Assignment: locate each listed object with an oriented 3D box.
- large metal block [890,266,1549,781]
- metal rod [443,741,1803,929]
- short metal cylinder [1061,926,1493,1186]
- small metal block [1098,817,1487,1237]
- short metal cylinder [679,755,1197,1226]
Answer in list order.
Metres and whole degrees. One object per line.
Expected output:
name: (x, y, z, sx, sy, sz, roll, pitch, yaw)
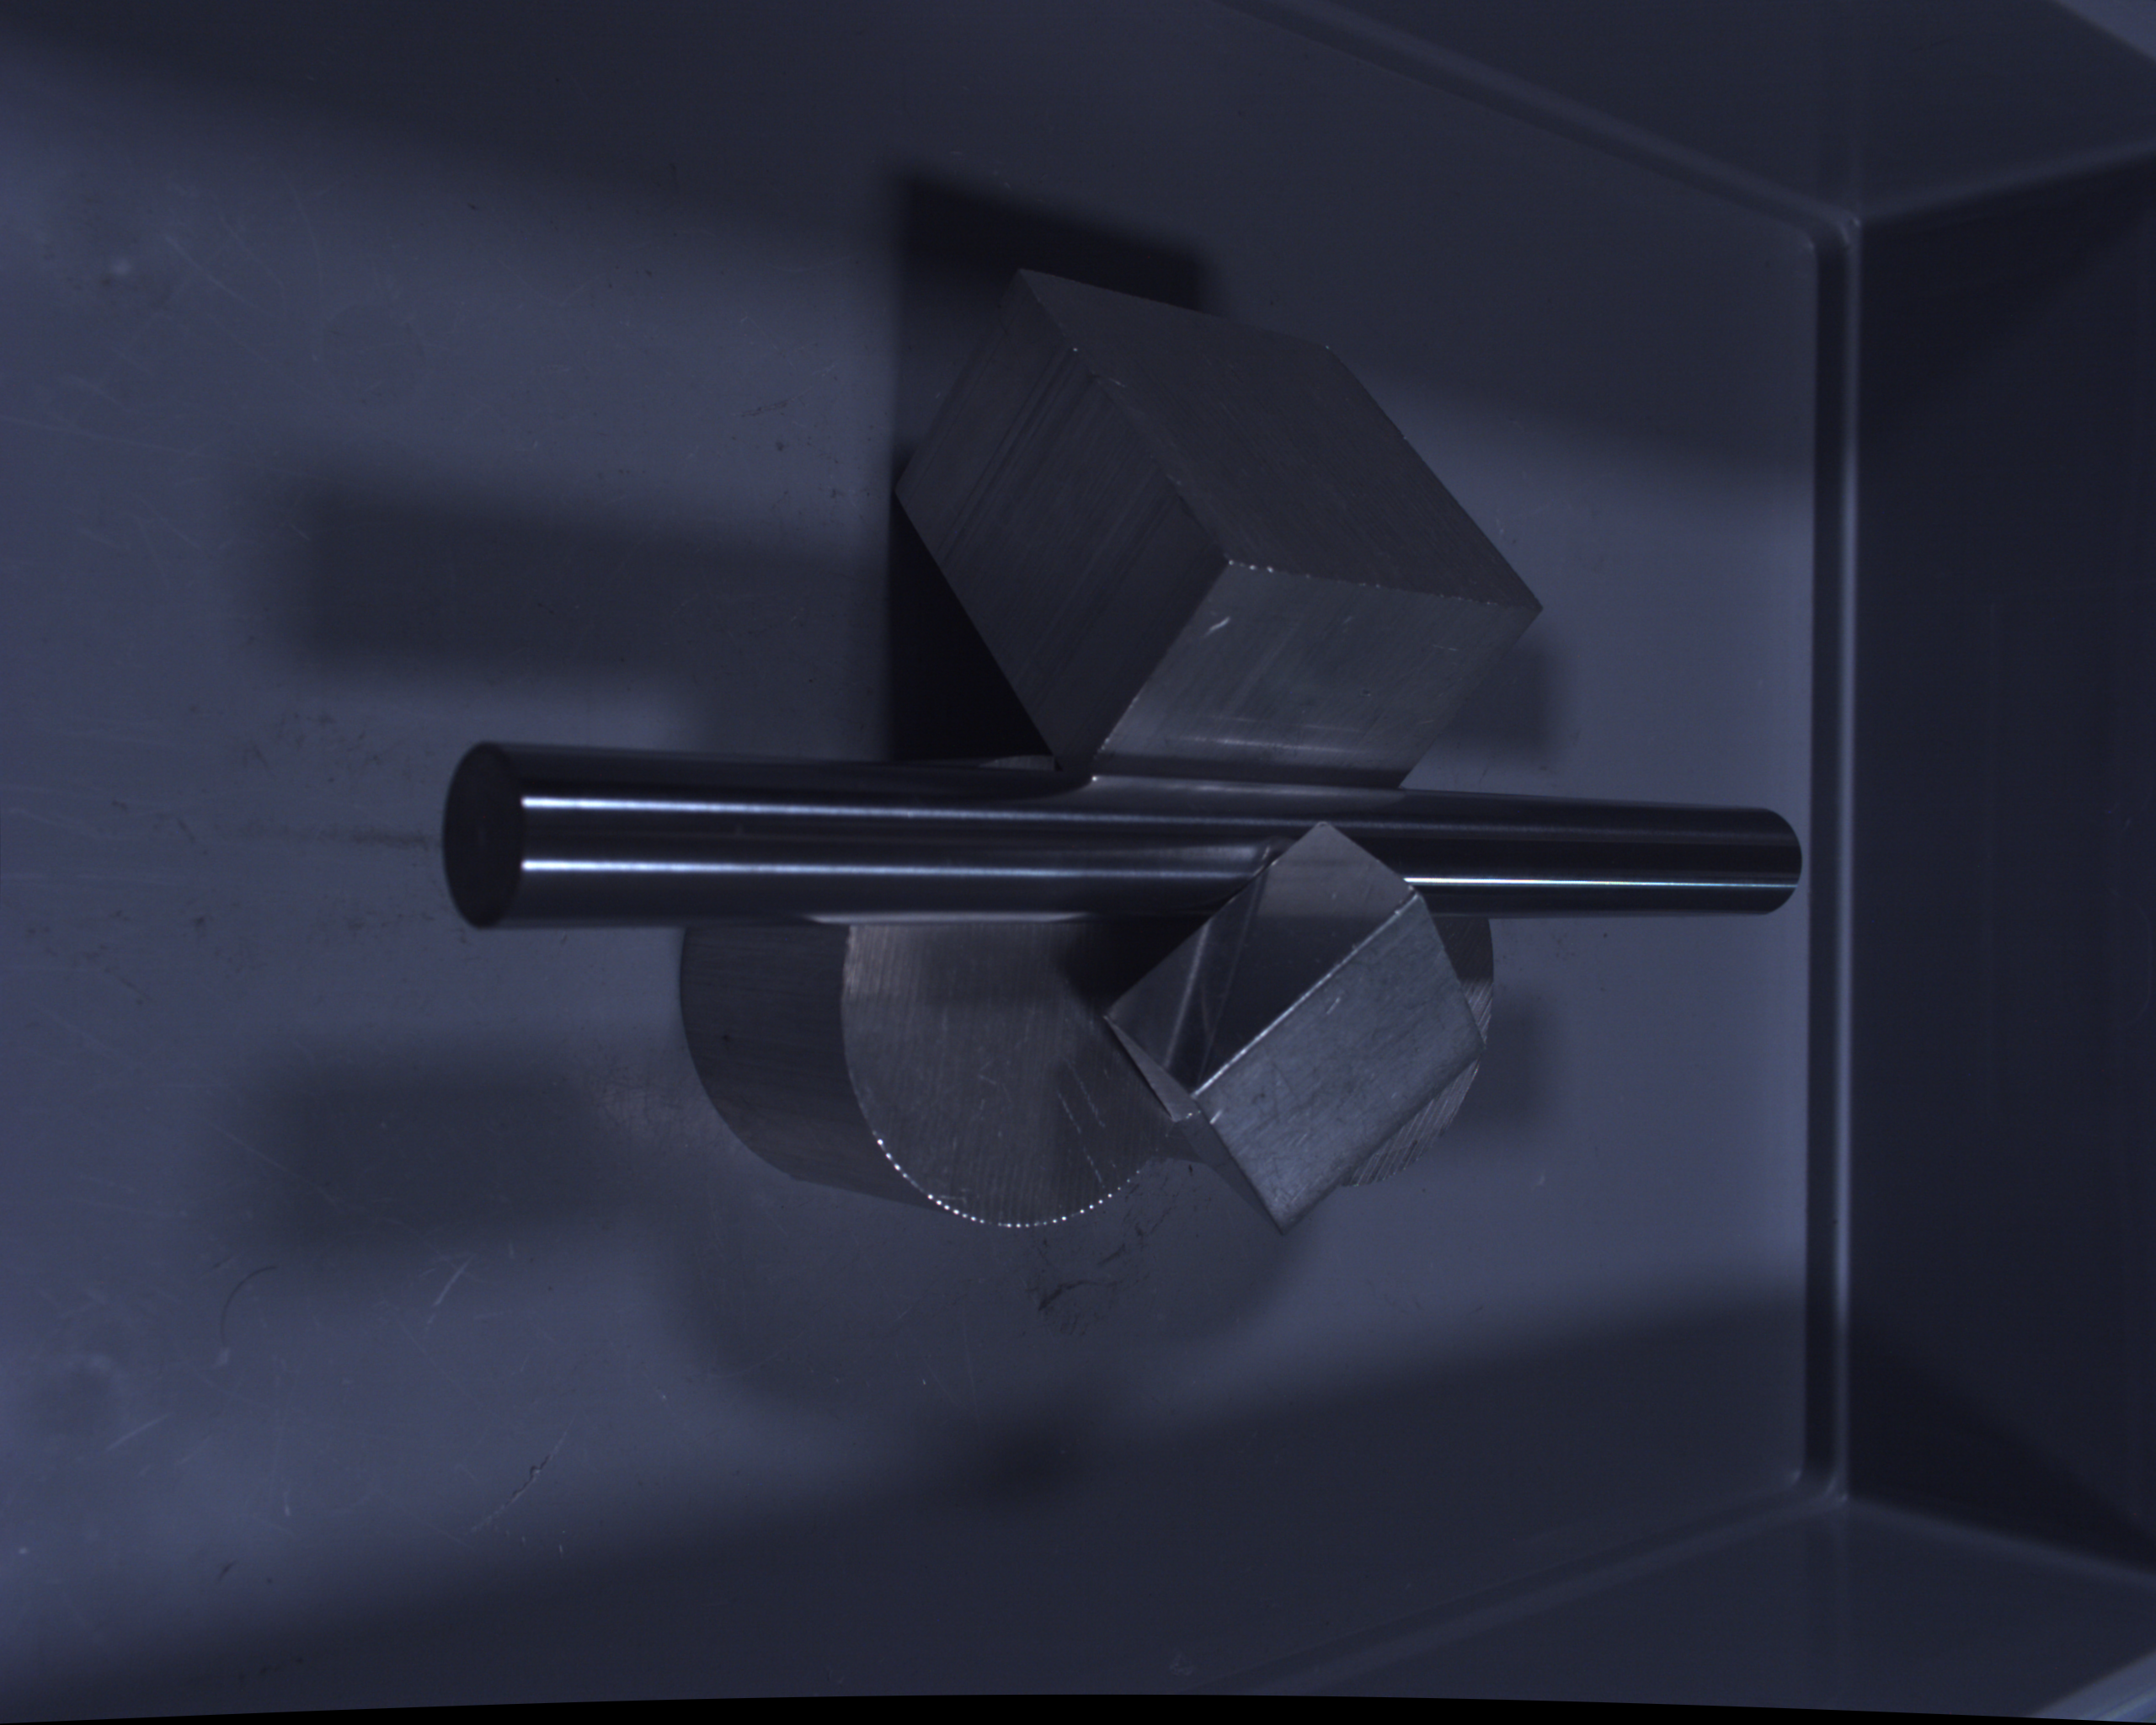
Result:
large metal block: (0.025, -0.058, 0.384, 0.081, 0.050, 0.080, 1, 46, -40)
metal rod: (0.037, -0.002, 0.373, 0.302, 0.025, 0.025, 1, 90, -40)
short metal cylinder: (0.039, 0.023, 0.424, 0.081, 0.050, 0.079, 0, 90, -40)
small metal block: (0.038, 0.029, 0.360, 0.050, 0.025, 0.050, -42, 137, -9)
short metal cylinder: (-0.023, 0.021, 0.372, 0.081, 0.050, 0.079, 0, 90, -40)
